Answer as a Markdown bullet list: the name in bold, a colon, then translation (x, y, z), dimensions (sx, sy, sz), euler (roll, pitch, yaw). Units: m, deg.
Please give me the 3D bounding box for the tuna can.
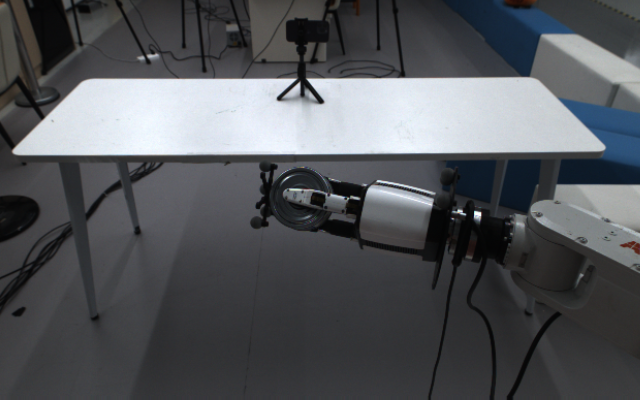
- **tuna can**: translation (-0.023, -0.003, 0.656), dimensions (0.085, 0.085, 0.034), euler (9, -6, 10)
